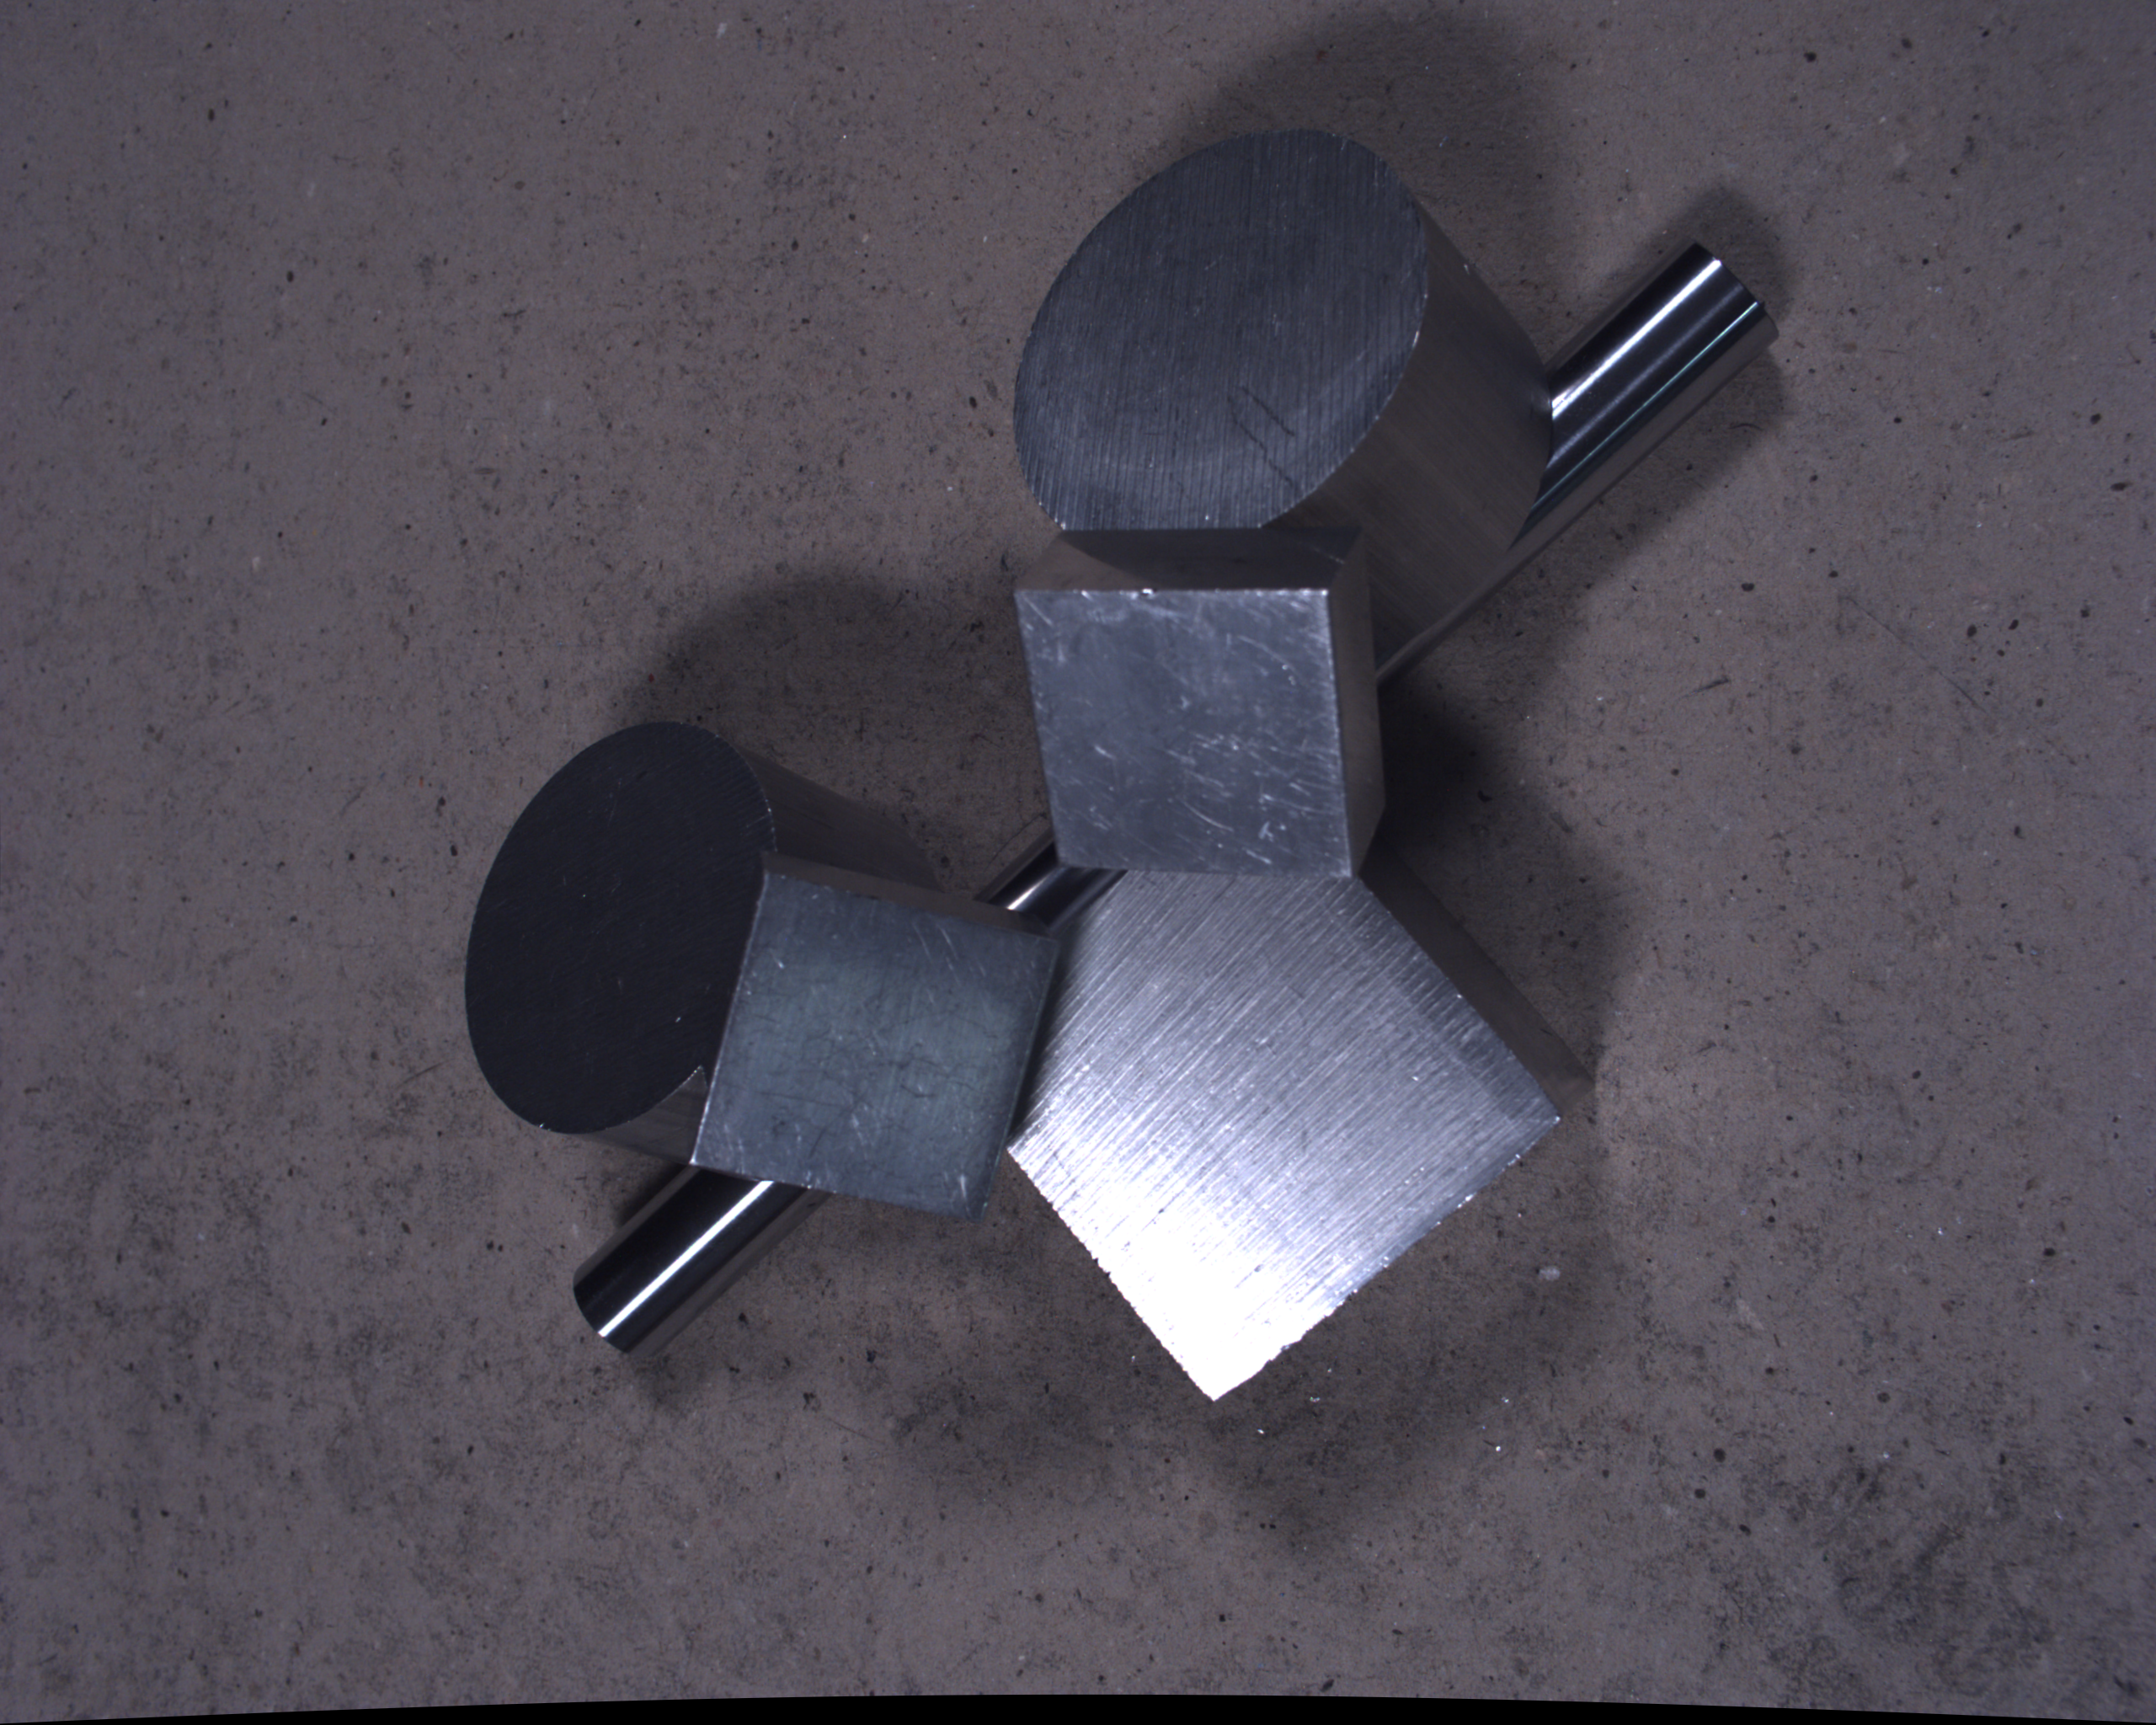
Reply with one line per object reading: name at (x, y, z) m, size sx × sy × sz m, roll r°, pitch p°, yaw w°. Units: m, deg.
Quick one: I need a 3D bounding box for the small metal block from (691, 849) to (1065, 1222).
small metal block at (-0.035, 0.029, 0.356) m, size 0.050 × 0.025 × 0.050 m, roll 14°, pitch 96°, yaw -13°

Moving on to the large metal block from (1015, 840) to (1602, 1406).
large metal block at (0.035, 0.038, 0.382) m, size 0.080 × 0.050 × 0.080 m, roll -43°, pitch 77°, yaw 14°

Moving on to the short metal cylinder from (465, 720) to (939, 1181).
short metal cylinder at (-0.072, 0.018, 0.406) m, size 0.080 × 0.050 × 0.080 m, roll -14°, pitch 65°, yaw 31°

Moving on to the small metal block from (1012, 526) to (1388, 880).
small metal block at (0.021, -0.026, 0.336) m, size 0.050 × 0.025 × 0.050 m, roll 2°, pitch 122°, yaw 19°

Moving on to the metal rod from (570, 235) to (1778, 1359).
metal rod at (0.009, -0.003, 0.406) m, size 0.299 × 0.025 × 0.025 m, roll -43°, pitch 77°, yaw 14°

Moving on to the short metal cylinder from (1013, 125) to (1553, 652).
short metal cylinder at (0.036, -0.080, 0.368) m, size 0.080 × 0.050 × 0.080 m, roll -14°, pitch 65°, yaw 31°
